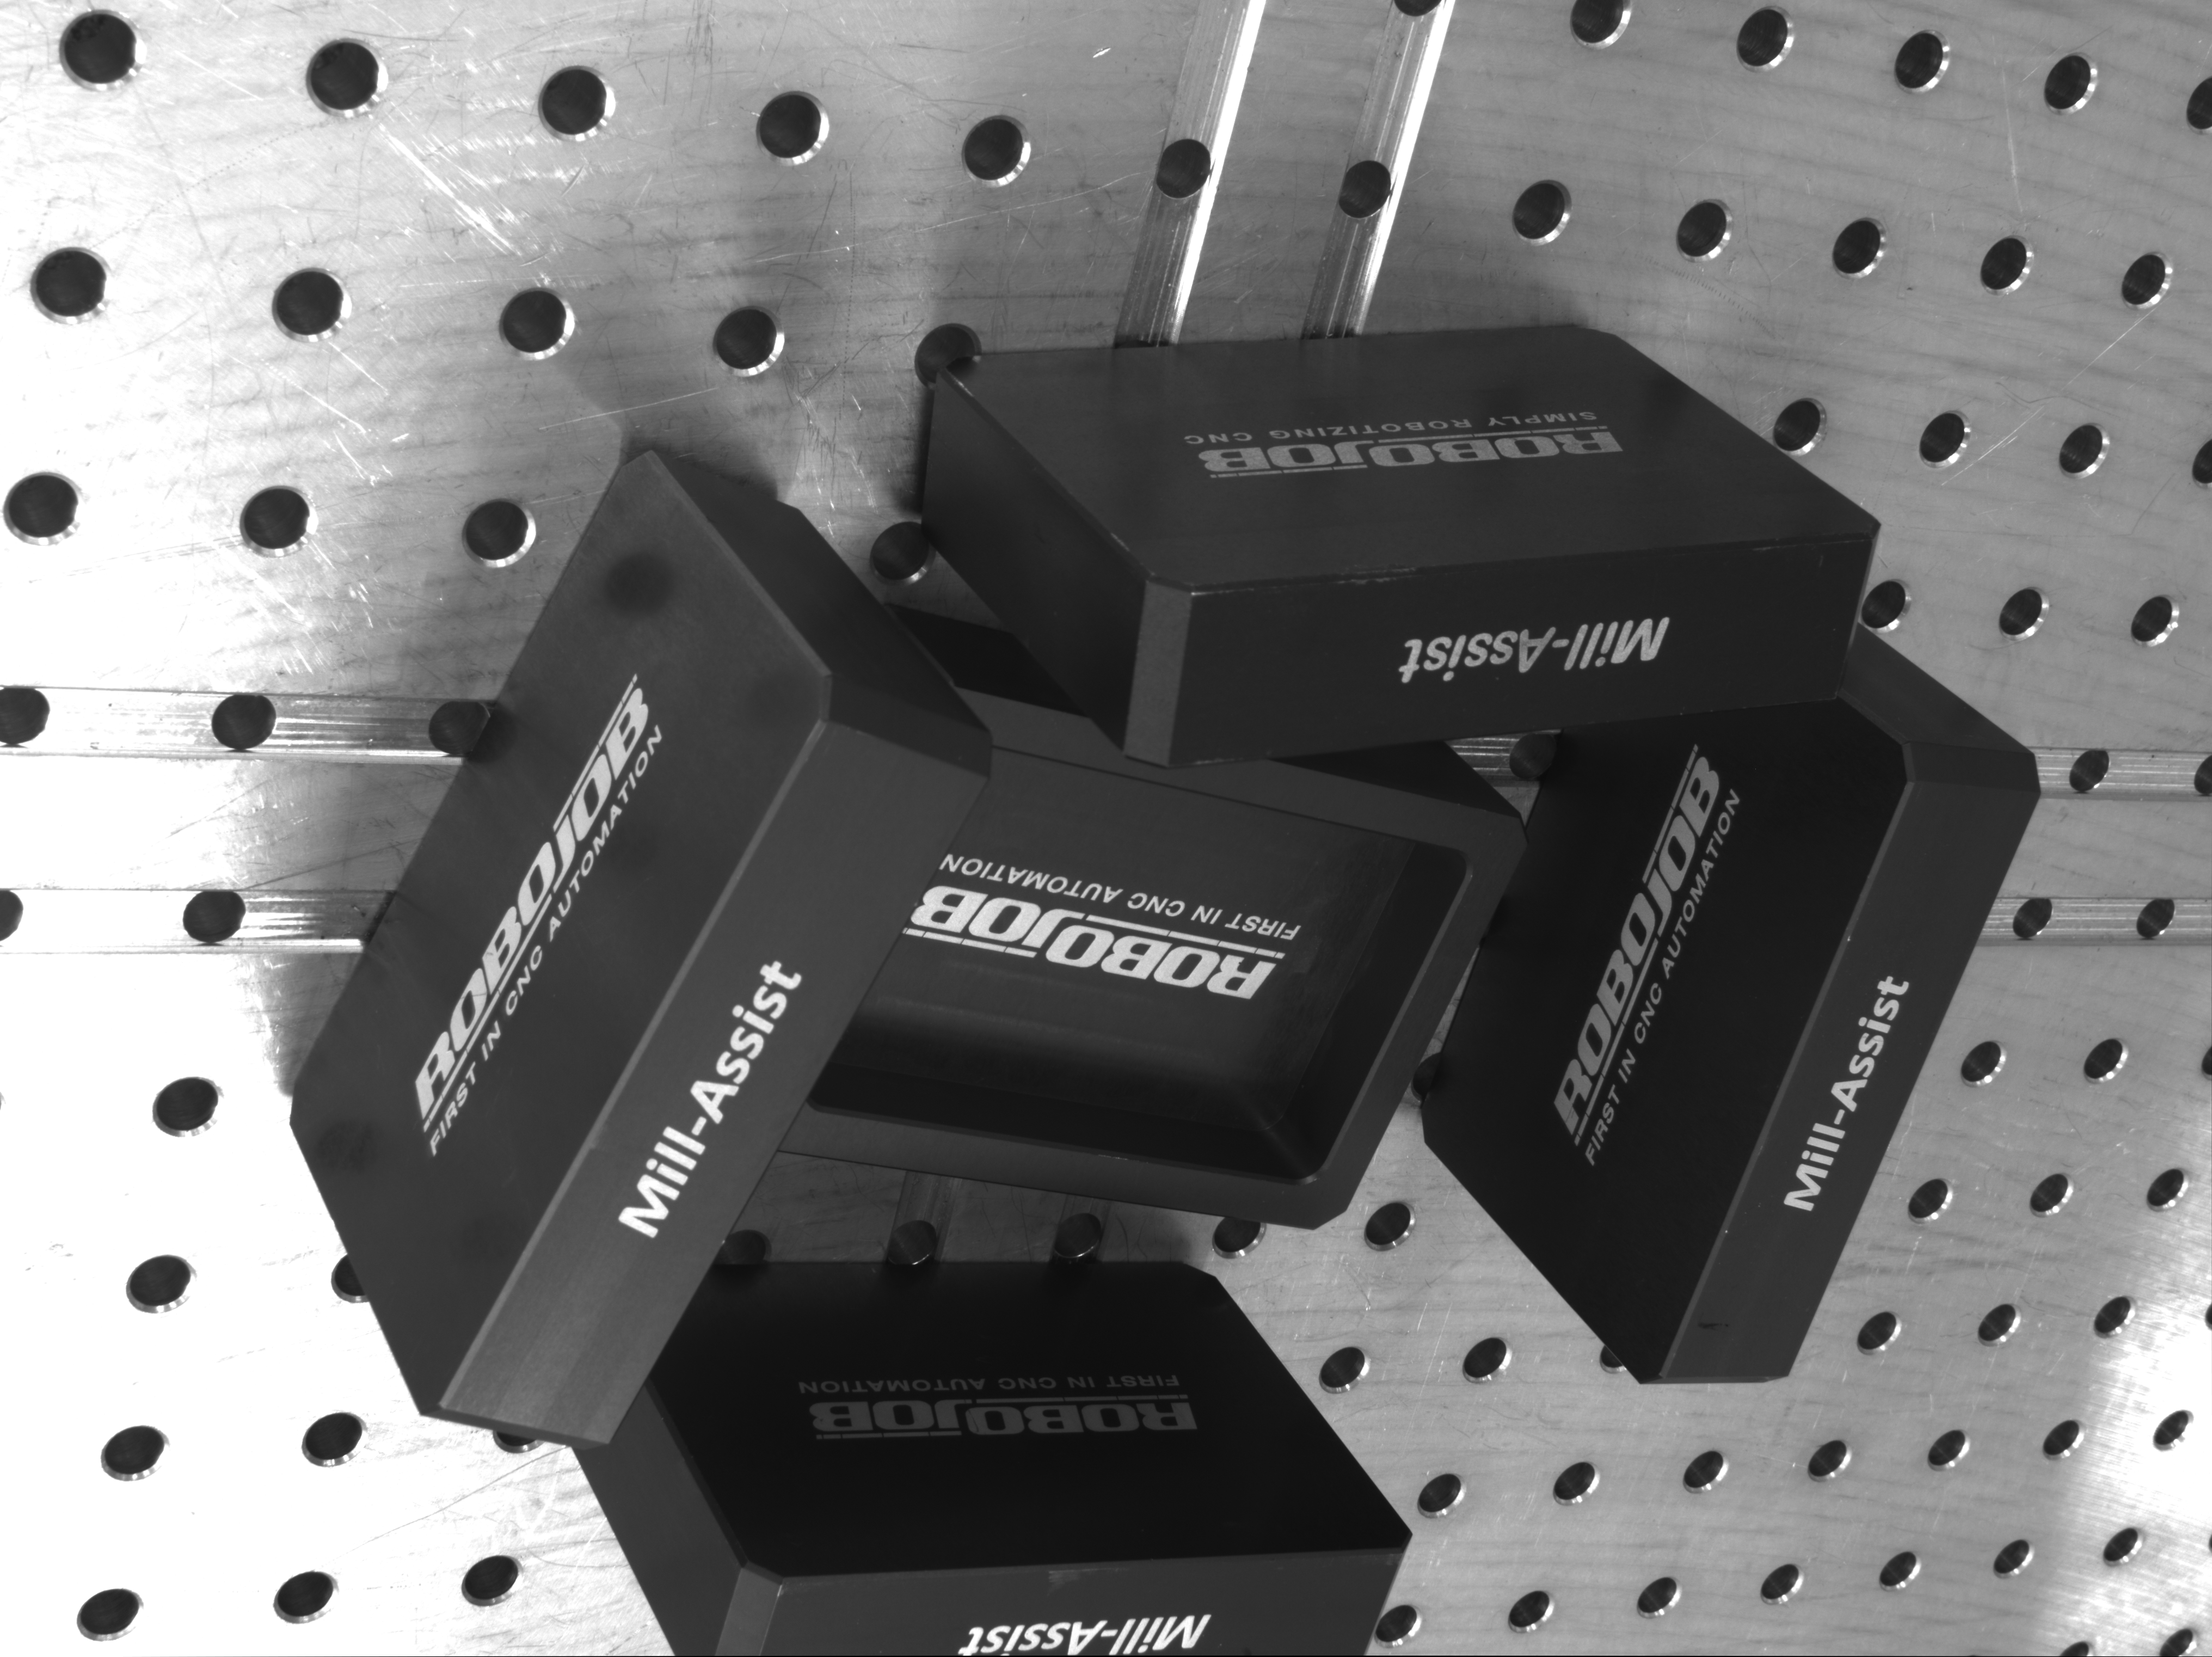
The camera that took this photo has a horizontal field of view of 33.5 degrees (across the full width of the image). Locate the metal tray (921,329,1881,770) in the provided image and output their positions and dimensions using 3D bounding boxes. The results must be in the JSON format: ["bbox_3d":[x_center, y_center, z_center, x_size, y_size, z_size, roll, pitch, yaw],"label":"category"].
[{"bbox_3d":[0.046,-0.048,0.594,0.130,0.090,0.030,-6,121,-25],"label":"metal tray"}]

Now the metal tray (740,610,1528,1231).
[{"bbox_3d":[0.001,0.019,0.649,0.130,0.030,0.090,12,112,-33],"label":"metal tray"}]

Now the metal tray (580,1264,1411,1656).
[{"bbox_3d":[-0.023,0.115,0.657,0.130,0.090,0.030,4,116,-30],"label":"metal tray"}]

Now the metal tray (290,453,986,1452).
[{"bbox_3d":[-0.076,0.018,0.569,0.030,0.090,0.130,20,108,-35],"label":"metal tray"}]

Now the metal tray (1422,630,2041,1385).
[{"bbox_3d":[0.111,0.025,0.673,0.030,0.090,0.130,4,116,-30],"label":"metal tray"}]
